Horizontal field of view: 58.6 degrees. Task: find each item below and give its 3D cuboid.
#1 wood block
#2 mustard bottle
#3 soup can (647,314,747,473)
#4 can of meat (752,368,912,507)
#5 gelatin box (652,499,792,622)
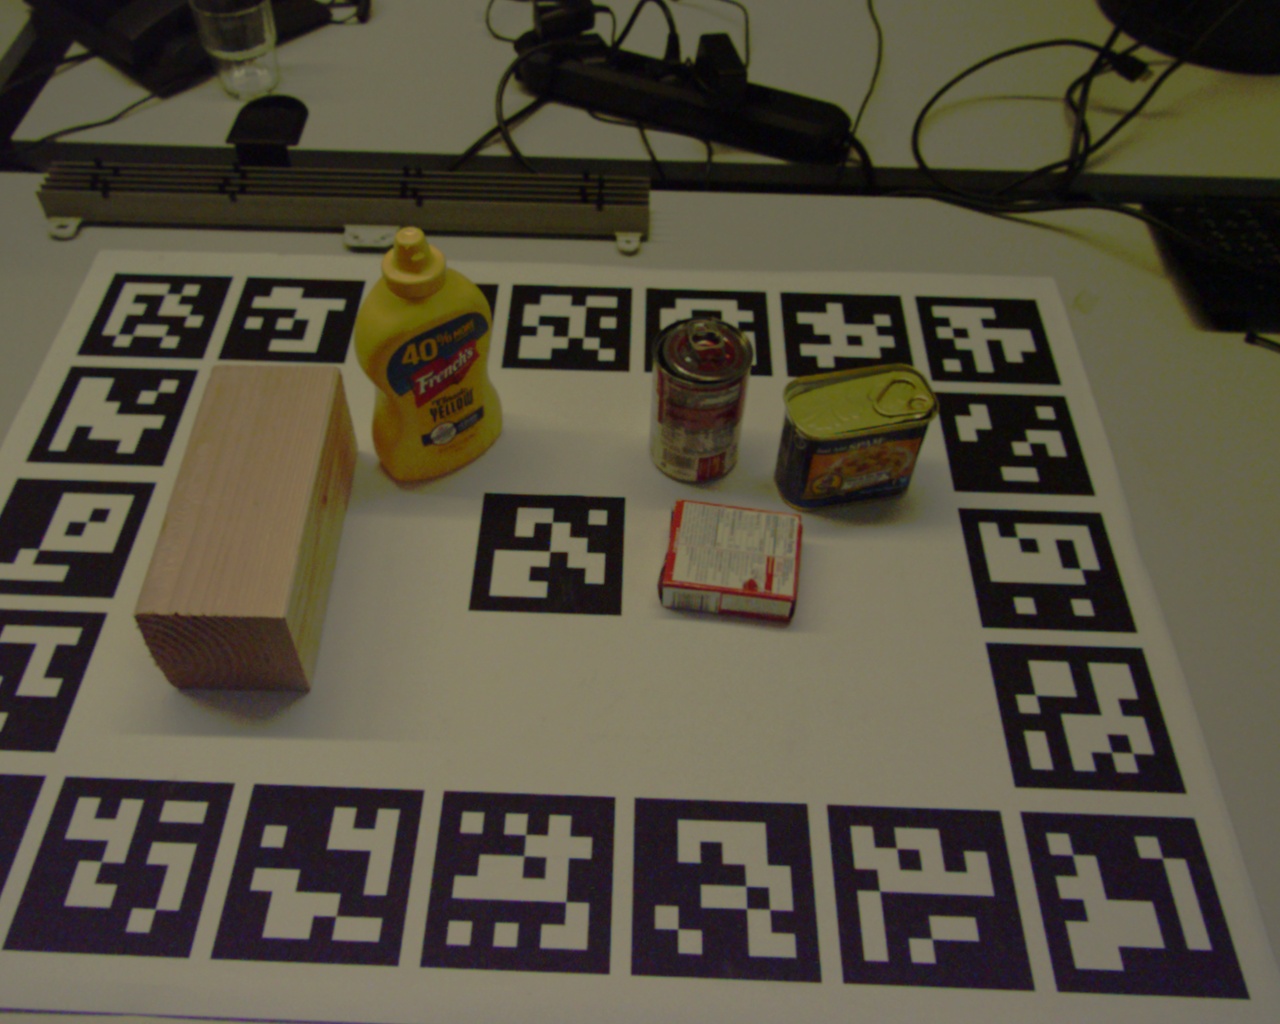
[{"bbox_3d":[-0.254,0.005,0.778,0.091,0.089,0.207,3,48,-1],"label":"wood block"},{"bbox_3d":[-0.154,-0.104,0.807,0.095,0.191,0.059,-18,54,-17],"label":"mustard bottle"},{"bbox_3d":[0.040,-0.084,0.834,0.068,0.102,0.068,0,53,-1],"label":"soup can"},{"bbox_3d":[0.136,-0.053,0.834,0.101,0.083,0.058,-8,53,-11],"label":"can of meat"},{"bbox_3d":[0.058,0.033,0.793,0.090,0.030,0.073,8,54,8],"label":"gelatin box"}]
